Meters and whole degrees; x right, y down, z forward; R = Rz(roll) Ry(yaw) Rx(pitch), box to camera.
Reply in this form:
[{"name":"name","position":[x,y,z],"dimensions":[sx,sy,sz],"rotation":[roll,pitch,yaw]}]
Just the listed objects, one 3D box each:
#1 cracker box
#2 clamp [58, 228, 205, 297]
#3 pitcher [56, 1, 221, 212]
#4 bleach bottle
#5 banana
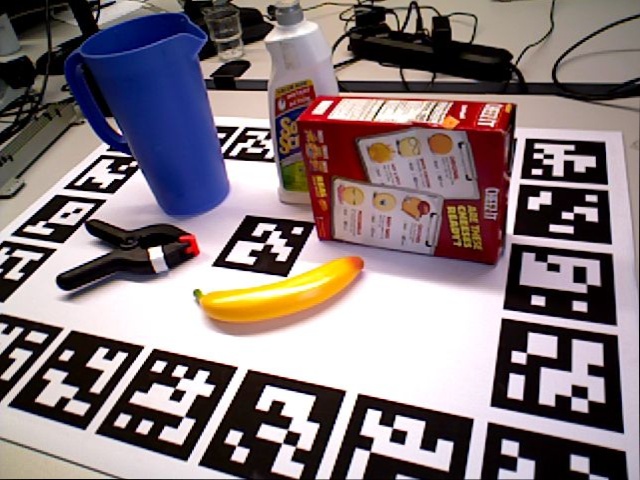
[{"name":"cracker box","position":[0.106,-0.071,0.579],"dimensions":[0.215,0.167,0.070],"rotation":[6,38,22]},{"name":"clamp","position":[-0.225,0.021,0.672],"dimensions":[0.165,0.037,0.119],"rotation":[-4,37,5]},{"name":"pitcher","position":[-0.212,-0.160,0.688],"dimensions":[0.188,0.247,0.131],"rotation":[-4,38,3]},{"name":"bleach bottle","position":[-0.021,-0.153,0.666],"dimensions":[0.103,0.255,0.066],"rotation":[6,40,19]},{"name":"banana","position":[-0.024,0.061,0.586],"dimensions":[0.196,0.039,0.073],"rotation":[-16,38,-7]}]
